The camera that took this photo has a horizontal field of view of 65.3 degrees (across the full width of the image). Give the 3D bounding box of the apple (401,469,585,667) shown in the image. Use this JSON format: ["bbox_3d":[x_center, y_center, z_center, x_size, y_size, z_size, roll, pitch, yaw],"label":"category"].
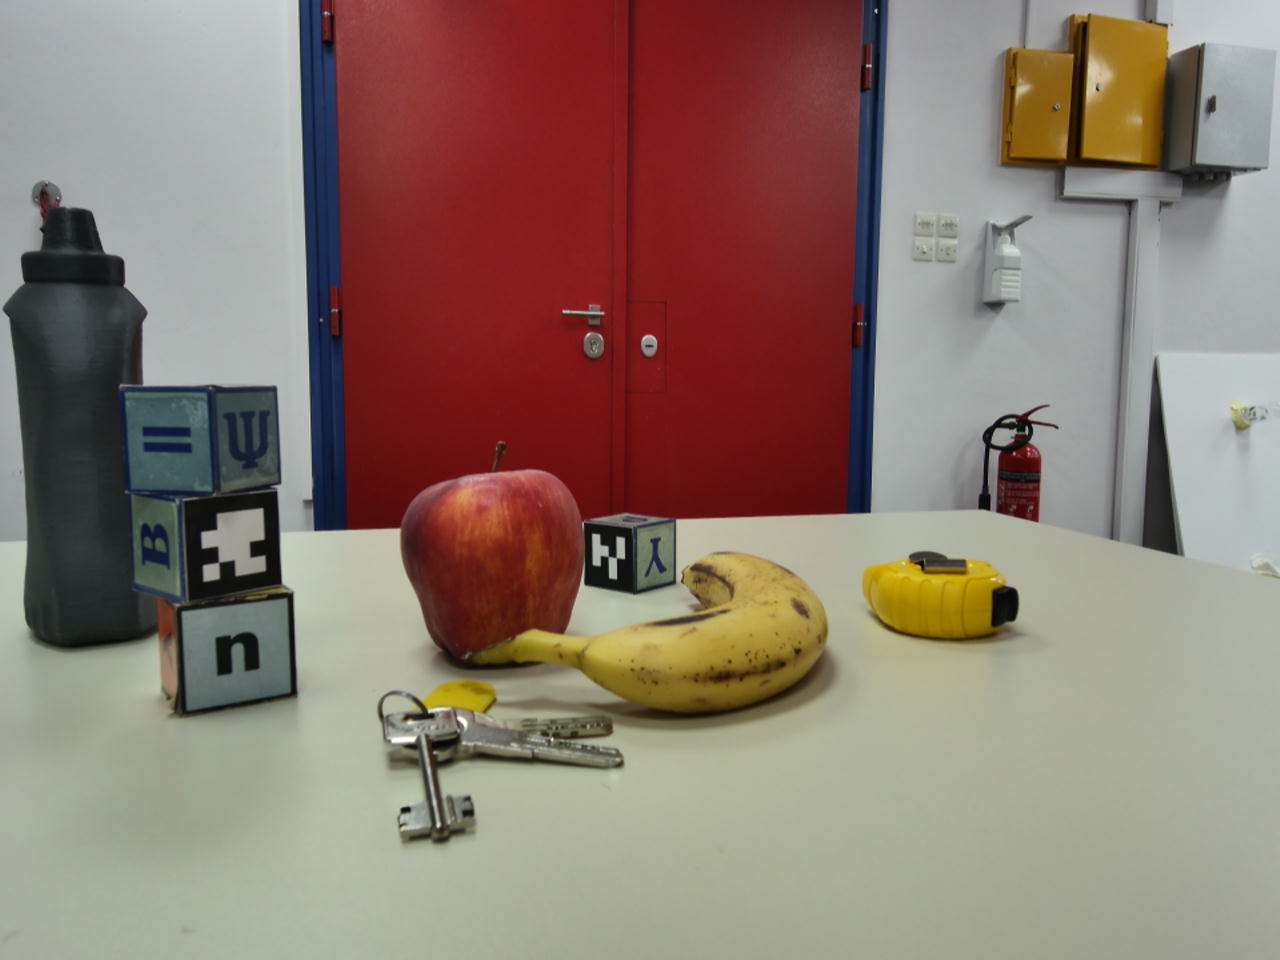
[{"bbox_3d":[-0.063,0.030,0.421,0.083,0.090,0.083,1,4,0],"label":"apple"}]
